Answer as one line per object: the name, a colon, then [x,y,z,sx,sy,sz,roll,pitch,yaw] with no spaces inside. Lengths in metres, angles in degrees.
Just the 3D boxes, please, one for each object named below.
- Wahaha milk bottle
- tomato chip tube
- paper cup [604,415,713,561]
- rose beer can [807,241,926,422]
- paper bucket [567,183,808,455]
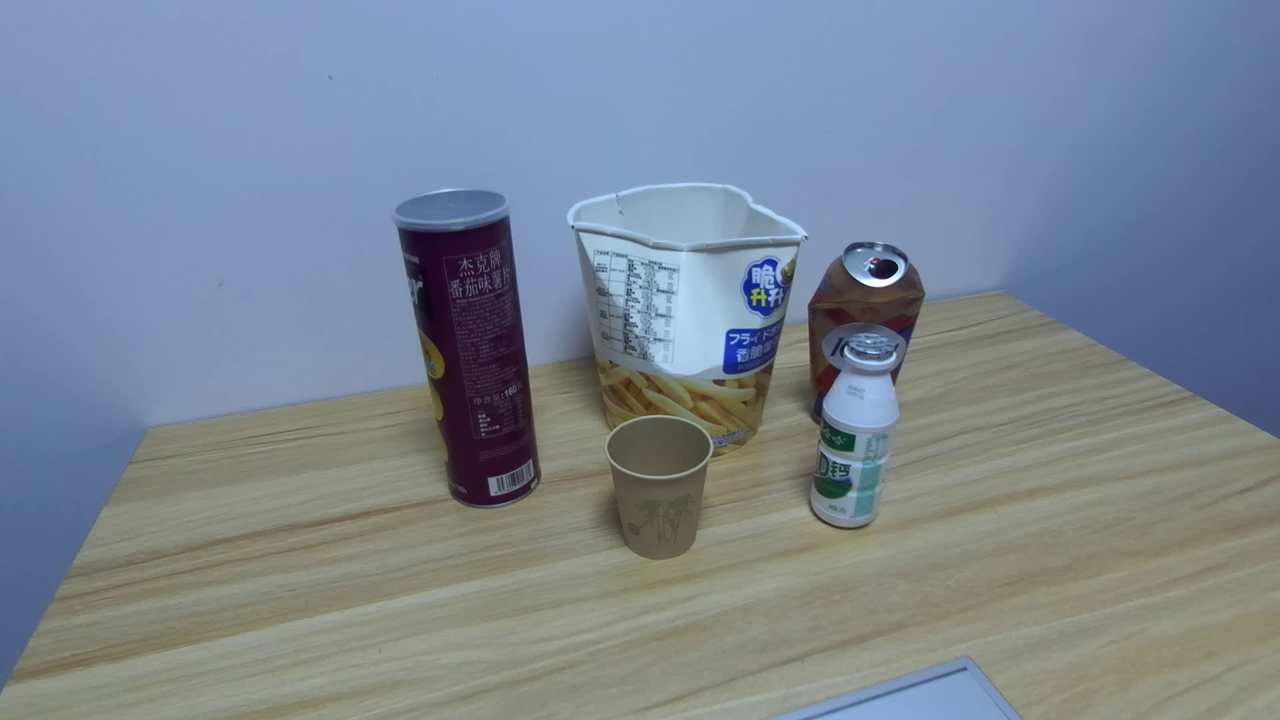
Wahaha milk bottle: [0.155,0.052,0.508,0.053,0.147,0.053,0,29,0]
tomato chip tube: [-0.122,-0.002,0.532,0.078,0.234,0.078,-1,29,1]
paper cup: [0.014,0.094,0.504,0.075,0.082,0.075,-1,30,1]
rose beer can: [0.188,-0.015,0.605,0.069,0.168,0.069,-16,34,-28]
paper bucket: [0.029,-0.033,0.614,0.163,0.202,0.168,-11,28,-14]
